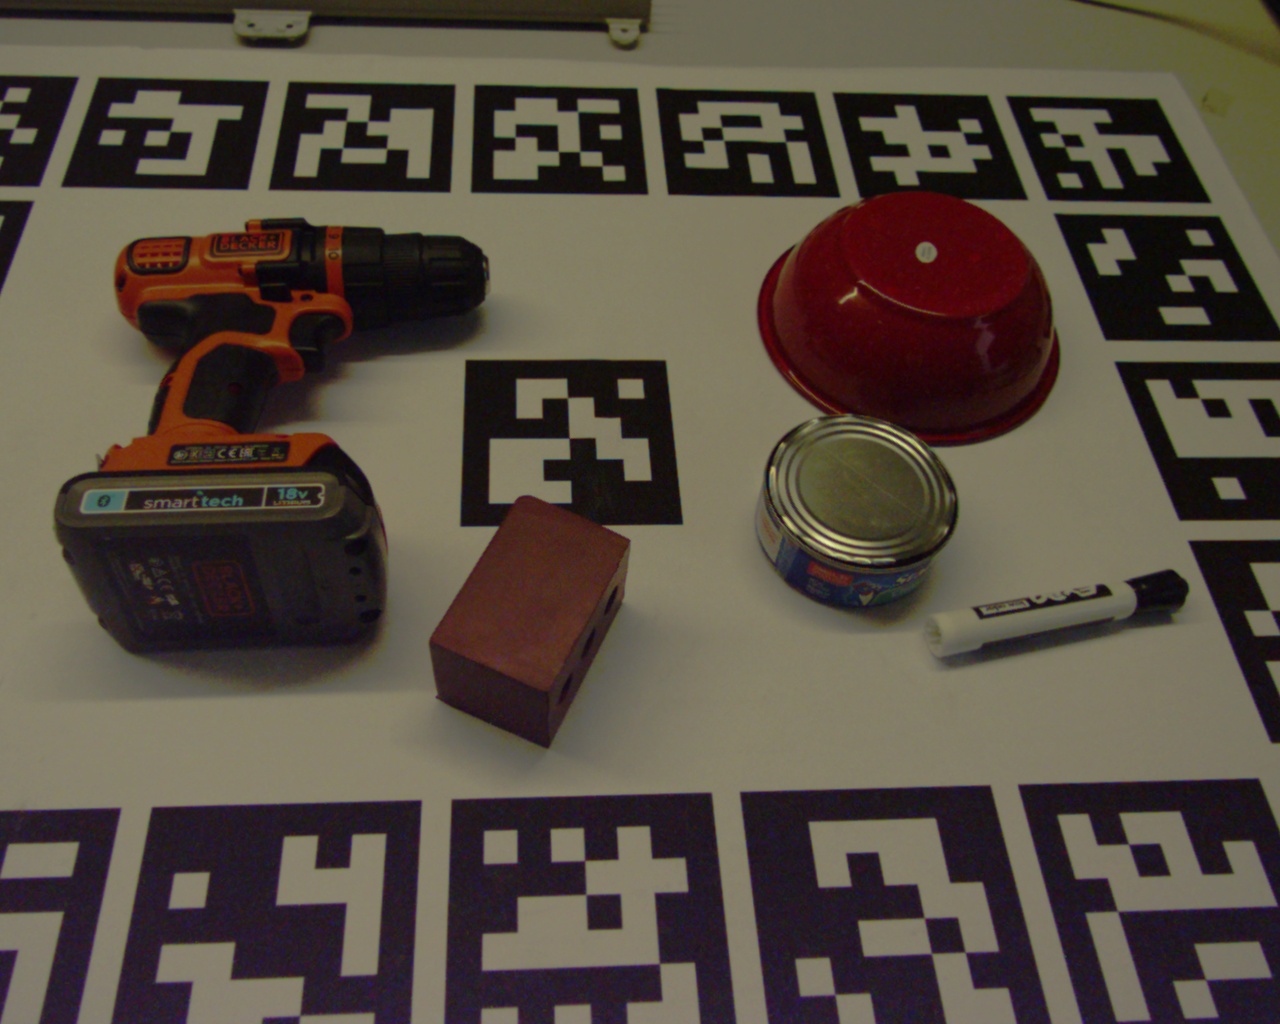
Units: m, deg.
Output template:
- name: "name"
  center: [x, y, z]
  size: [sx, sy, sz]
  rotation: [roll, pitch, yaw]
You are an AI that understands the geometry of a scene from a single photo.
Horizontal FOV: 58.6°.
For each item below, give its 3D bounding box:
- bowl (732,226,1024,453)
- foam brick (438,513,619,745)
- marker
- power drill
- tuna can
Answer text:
- name: "bowl"
  center: [0.133, -0.107, 0.619]
  size: [0.161, 0.055, 0.162]
  rotation: [0, 48, -1]
- name: "foam brick"
  center: [-0.047, 0.051, 0.492]
  size: [0.051, 0.052, 0.078]
  rotation: [20, 57, 7]
- name: "marker"
  center: [0.180, 0.046, 0.523]
  size: [0.120, 0.019, 0.020]
  rotation: [-9, 58, -11]
- name: "power drill"
  center: [-0.169, -0.044, 0.543]
  size: [0.184, 0.057, 0.188]
  rotation: [0, 52, -9]
- name: "tuna can"
  center: [0.092, 0.000, 0.540]
  size: [0.085, 0.034, 0.086]
  rotation: [3, 55, -5]
